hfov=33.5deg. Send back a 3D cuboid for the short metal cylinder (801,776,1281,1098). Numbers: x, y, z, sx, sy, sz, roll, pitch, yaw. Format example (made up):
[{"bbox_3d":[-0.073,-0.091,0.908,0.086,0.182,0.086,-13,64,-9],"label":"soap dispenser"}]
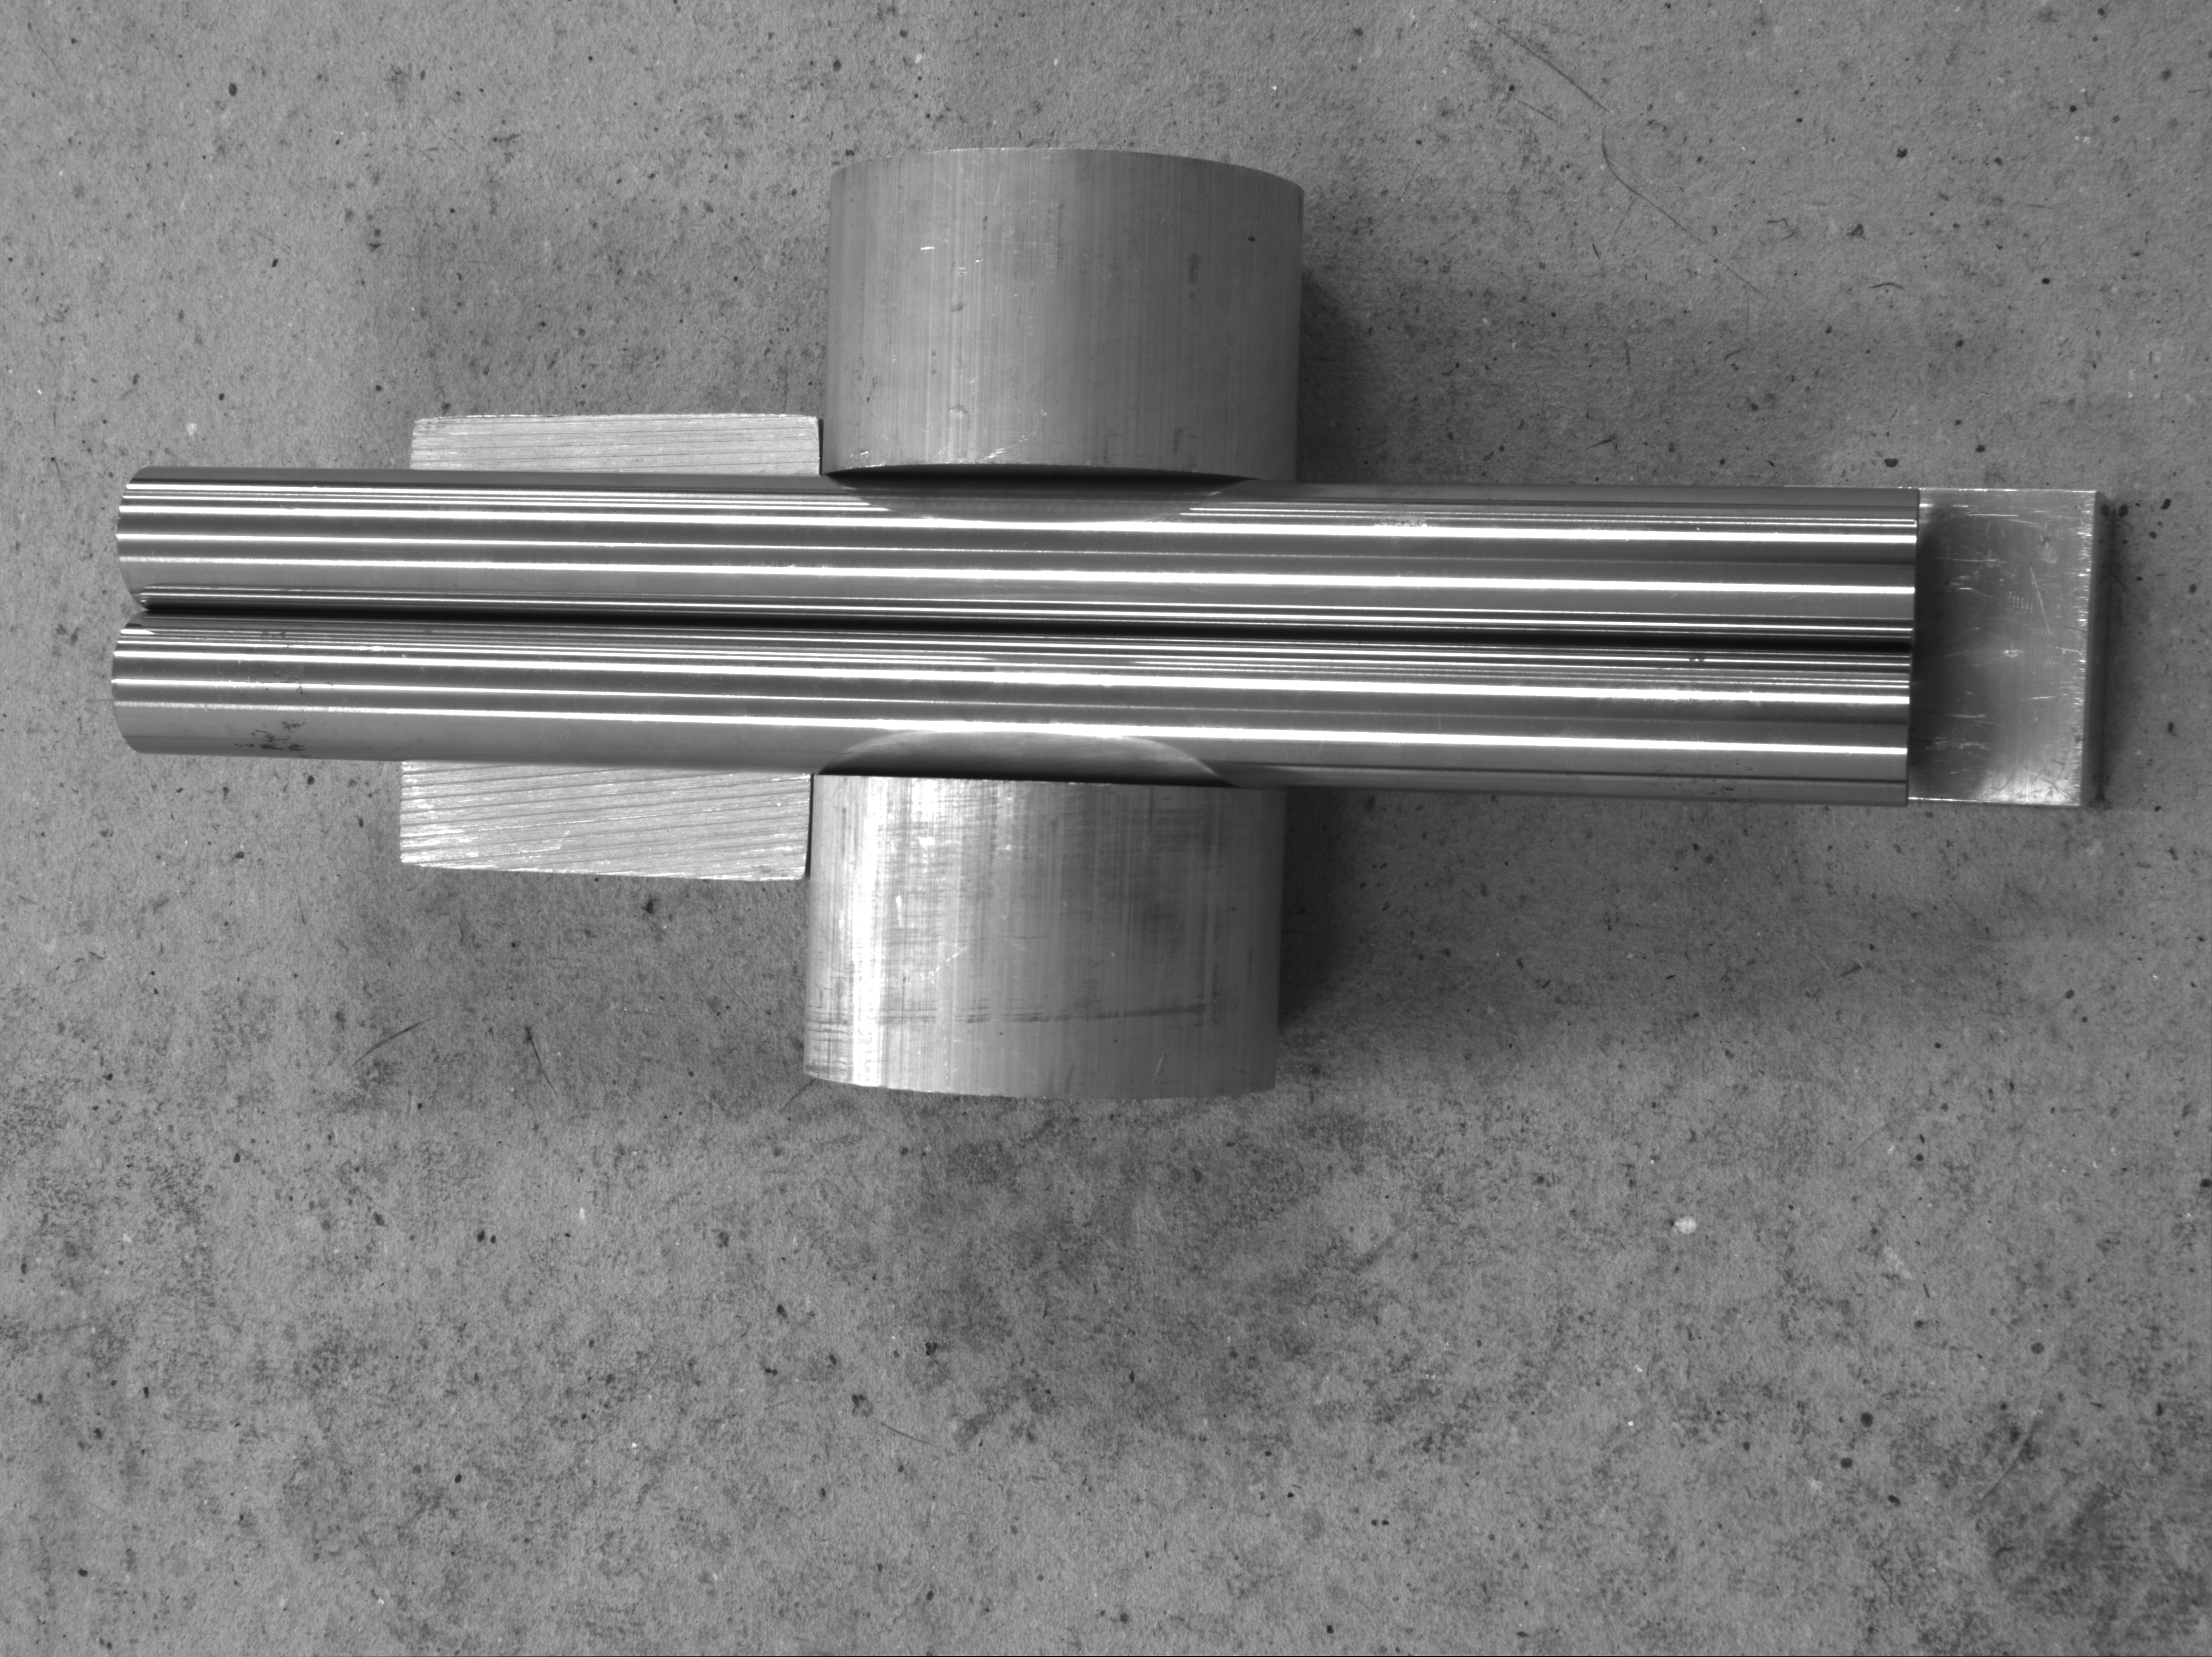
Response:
[{"bbox_3d":[-0.011,0.017,0.622,0.080,0.080,0.050,2,90,20],"label":"short metal cylinder"}]

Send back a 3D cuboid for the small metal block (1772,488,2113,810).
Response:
[{"bbox_3d":[0.136,-0.029,0.598,0.050,0.025,0.050,3,91,20],"label":"small metal block"}]

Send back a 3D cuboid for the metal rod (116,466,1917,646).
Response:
[{"bbox_3d":[-0.020,-0.046,0.607,0.300,0.025,0.025,2,91,12],"label":"metal rod"}]

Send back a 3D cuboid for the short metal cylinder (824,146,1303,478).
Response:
[{"bbox_3d":[-0.007,-0.083,0.621,0.080,0.080,0.050,2,90,20],"label":"short metal cylinder"}]

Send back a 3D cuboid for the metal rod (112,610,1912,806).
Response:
[{"bbox_3d":[-0.020,-0.021,0.607,0.300,0.025,0.025,2,91,12],"label":"metal rod"}]

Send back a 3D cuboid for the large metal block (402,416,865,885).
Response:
[{"bbox_3d":[-0.078,-0.031,0.662,0.080,0.050,0.080,2,91,20],"label":"large metal block"}]
